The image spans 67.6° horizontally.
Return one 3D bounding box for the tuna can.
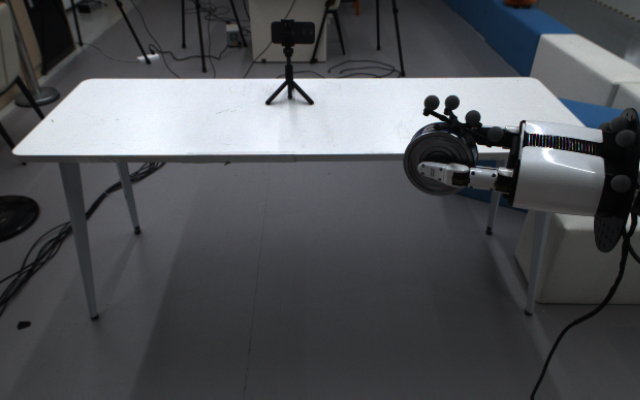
[{"bbox_3d":[0.148,-0.051,0.589,0.085,0.085,0.034,15,31,18],"label":"tuna can"}]
